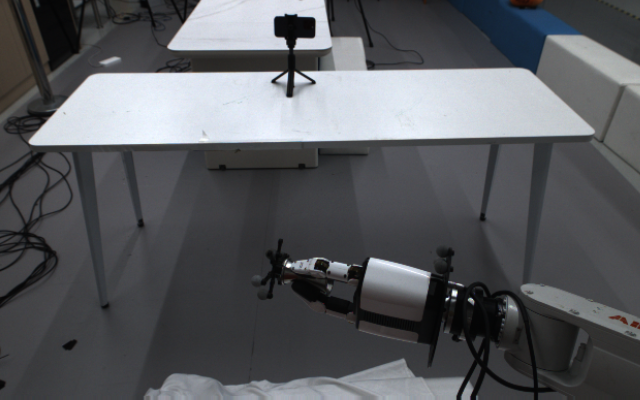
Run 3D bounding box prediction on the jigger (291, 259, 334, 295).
[{"bbox_3d":[-0.010,0.103,0.687,0.071,0.043,0.043,9,35,16],"label":"jigger"}]
